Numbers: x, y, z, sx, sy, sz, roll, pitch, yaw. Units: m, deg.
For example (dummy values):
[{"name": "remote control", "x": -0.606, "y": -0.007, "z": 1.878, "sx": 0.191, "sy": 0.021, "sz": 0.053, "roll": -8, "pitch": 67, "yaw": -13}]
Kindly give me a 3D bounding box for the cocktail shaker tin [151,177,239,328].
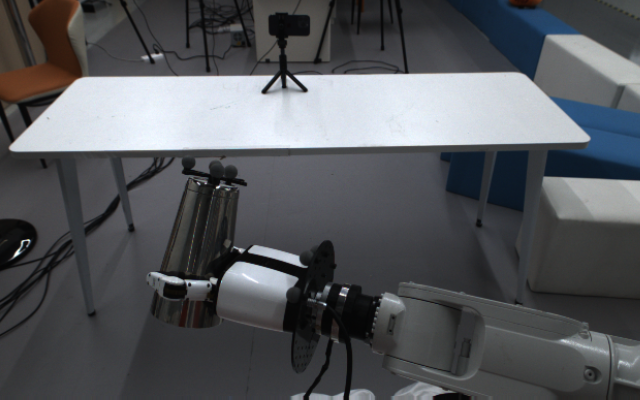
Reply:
[{"name": "cocktail shaker tin", "x": -0.150, "y": 0.063, "z": 0.607, "sx": 0.093, "sy": 0.170, "sz": 0.093, "roll": 12, "pitch": 5, "yaw": -1}]
